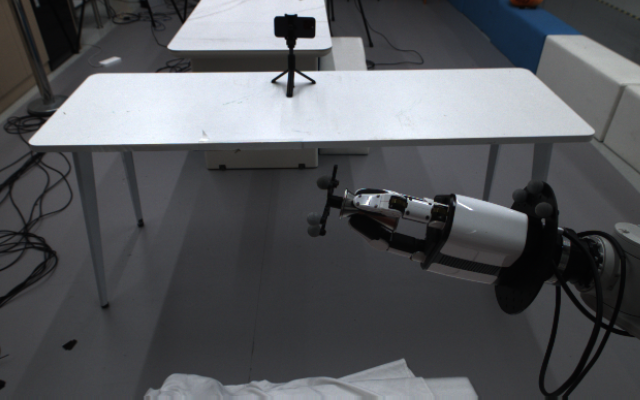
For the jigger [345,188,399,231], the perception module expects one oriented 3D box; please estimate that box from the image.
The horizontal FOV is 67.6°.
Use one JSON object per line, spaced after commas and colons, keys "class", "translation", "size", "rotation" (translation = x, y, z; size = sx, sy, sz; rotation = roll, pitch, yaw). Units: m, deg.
{"class": "jigger", "translation": [0.067, 0.008, 0.582], "size": [0.071, 0.043, 0.043], "rotation": [13, 36, 4]}
